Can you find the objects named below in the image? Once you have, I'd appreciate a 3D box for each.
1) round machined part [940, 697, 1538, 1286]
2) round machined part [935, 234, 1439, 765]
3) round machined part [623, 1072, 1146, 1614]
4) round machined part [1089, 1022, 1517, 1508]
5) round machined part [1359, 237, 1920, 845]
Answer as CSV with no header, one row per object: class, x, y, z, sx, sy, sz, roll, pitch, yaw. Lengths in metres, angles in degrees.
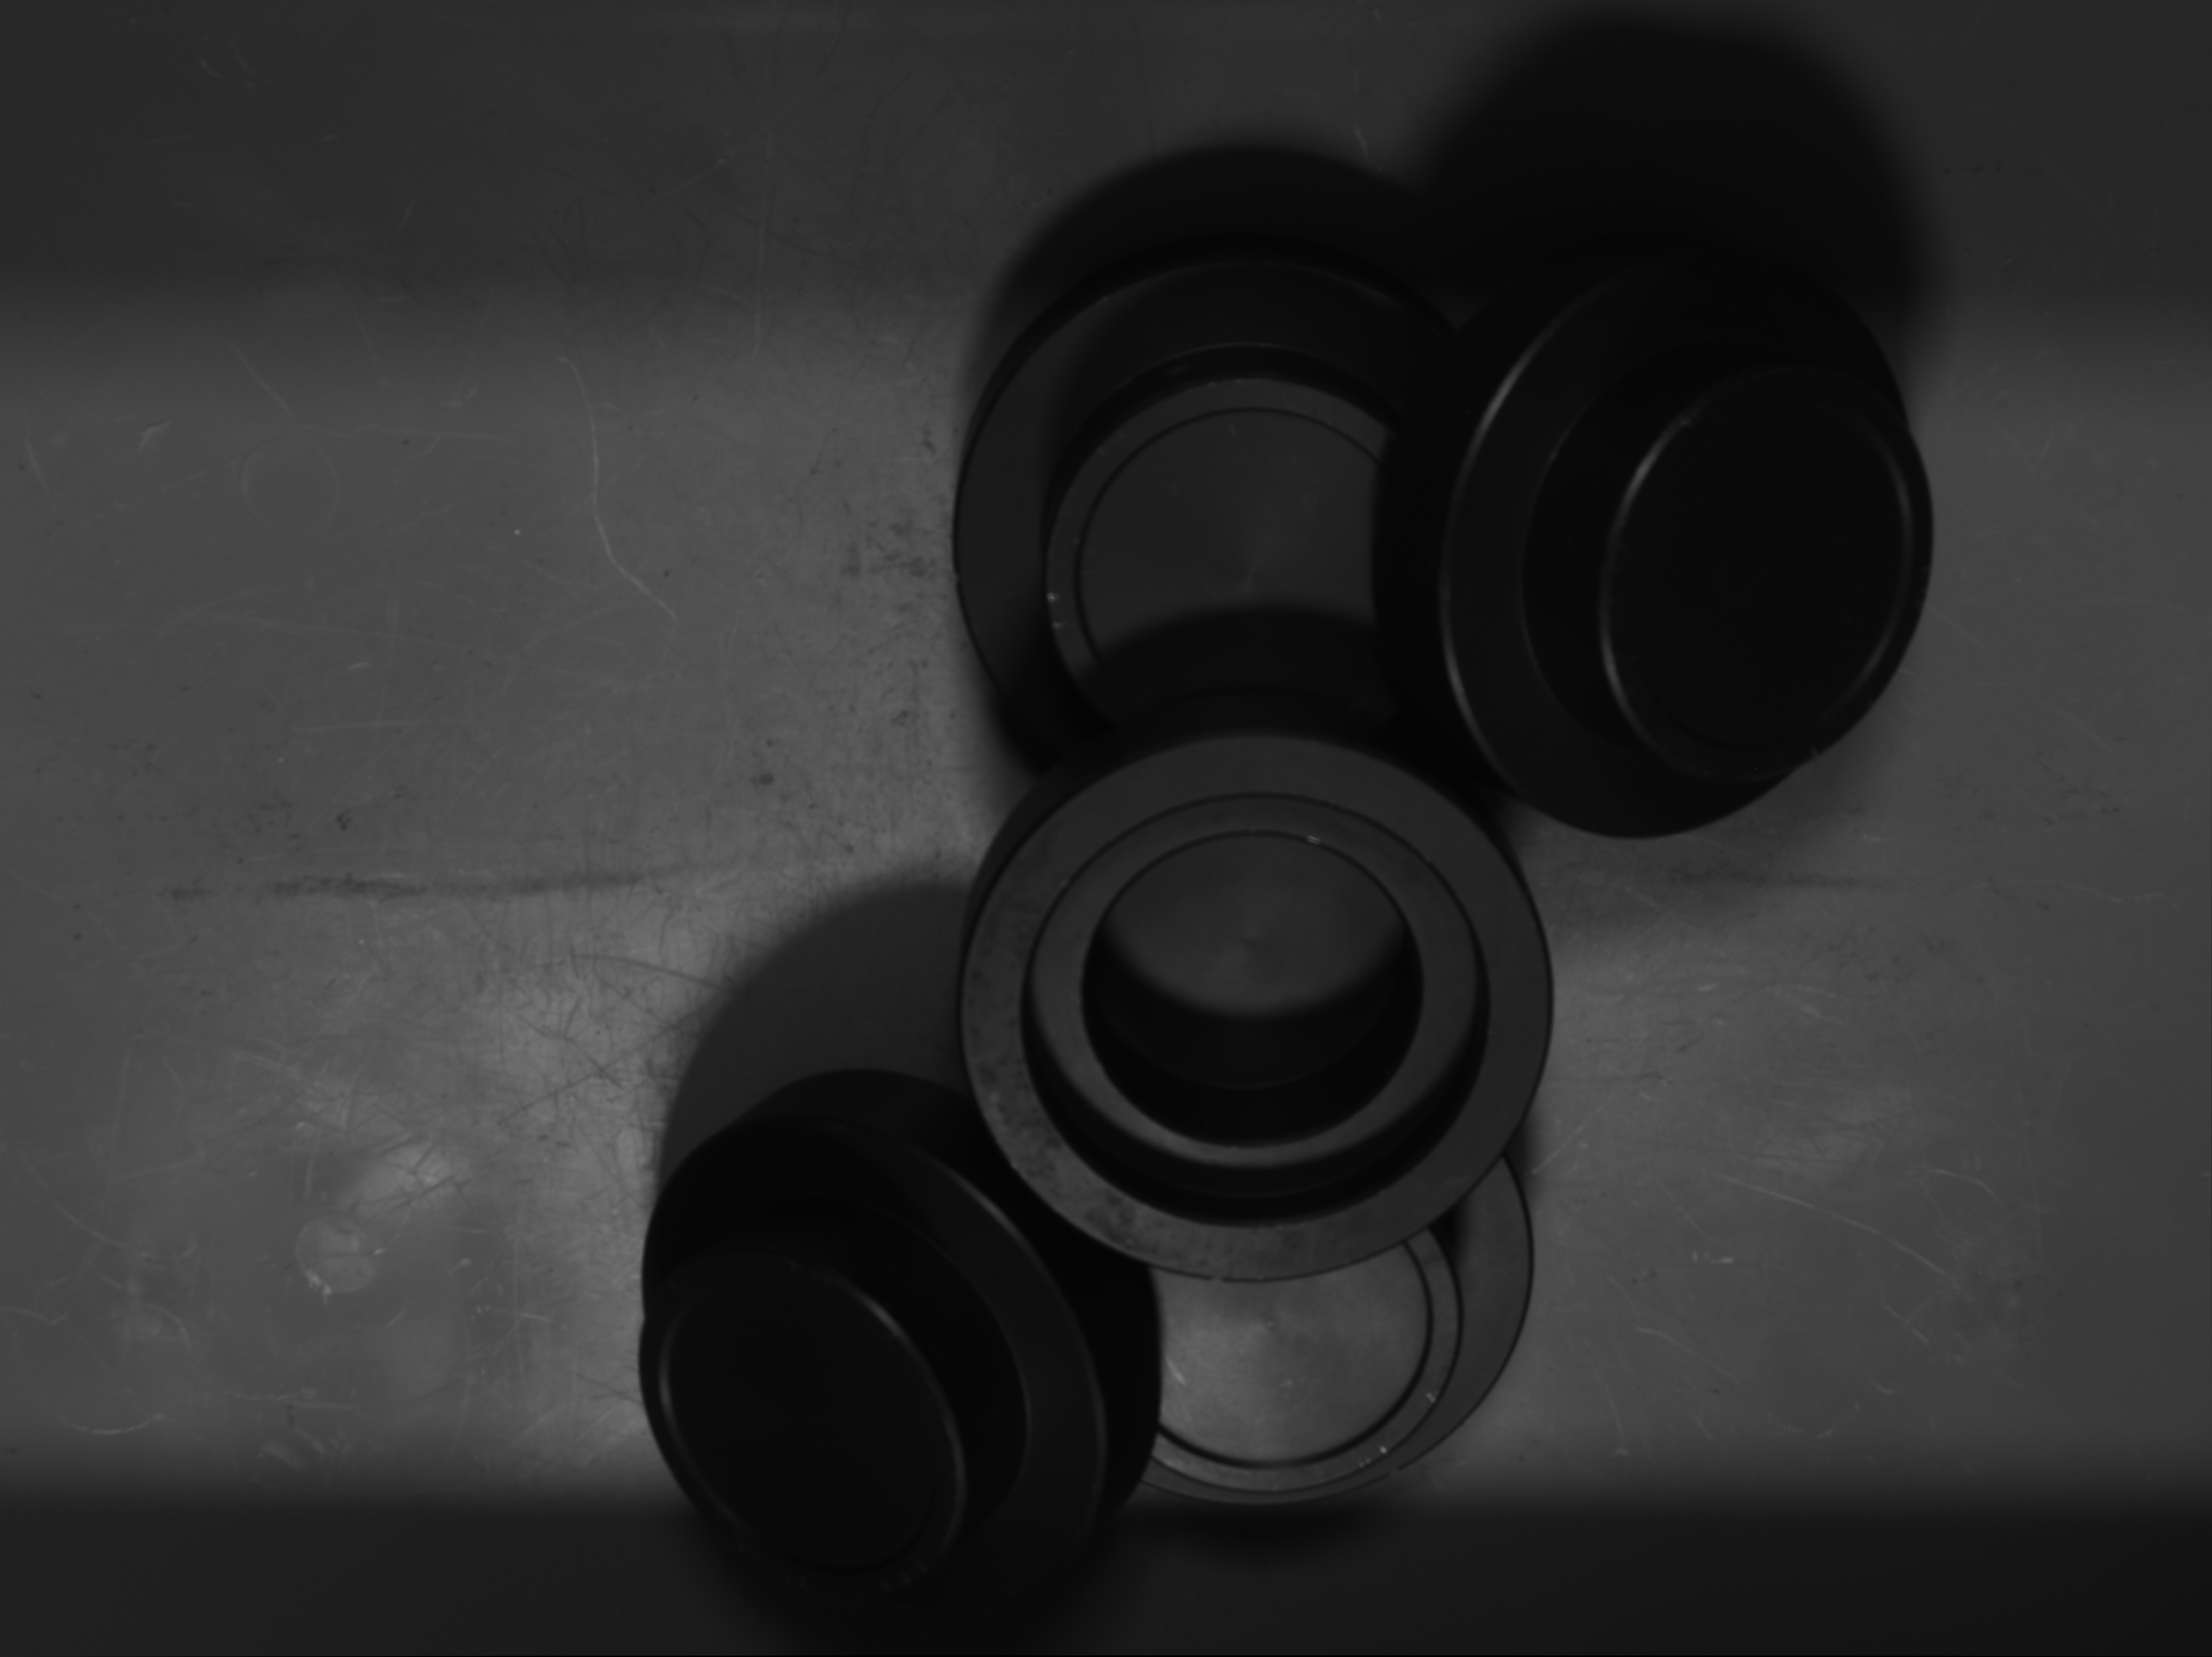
round machined part,0.022,0.024,0.619,0.098,0.042,0.098,0,110,-1
round machined part,0.020,-0.047,0.615,0.098,0.042,0.098,0,110,-1
round machined part,-0.046,0.096,0.645,0.098,0.042,0.098,13,117,27
round machined part,0.026,0.080,0.662,0.098,0.042,0.098,0,110,-1
round machined part,0.093,-0.044,0.595,0.098,0.042,0.098,-10,110,-29
